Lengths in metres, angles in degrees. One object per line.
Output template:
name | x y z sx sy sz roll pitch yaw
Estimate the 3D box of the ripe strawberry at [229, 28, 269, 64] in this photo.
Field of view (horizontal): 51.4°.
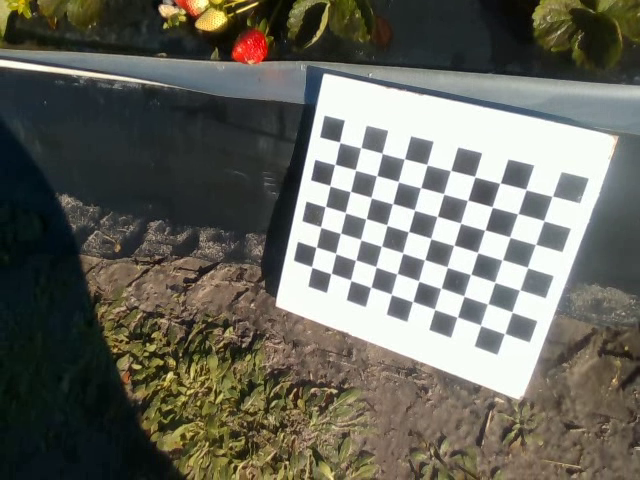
ripe strawberry | -0.067 -0.176 0.598 0.036 0.038 0.045 17 30 25
